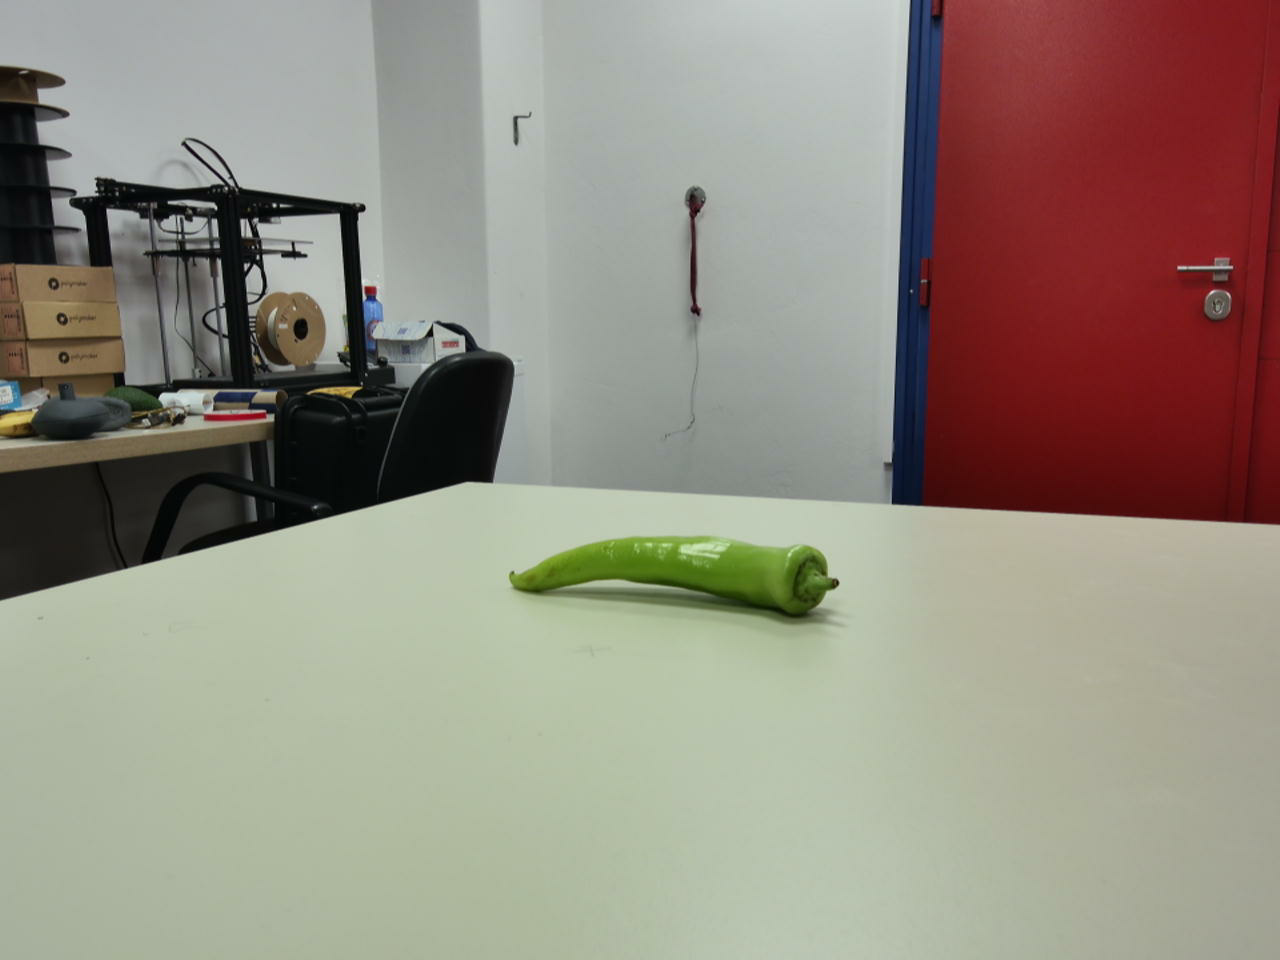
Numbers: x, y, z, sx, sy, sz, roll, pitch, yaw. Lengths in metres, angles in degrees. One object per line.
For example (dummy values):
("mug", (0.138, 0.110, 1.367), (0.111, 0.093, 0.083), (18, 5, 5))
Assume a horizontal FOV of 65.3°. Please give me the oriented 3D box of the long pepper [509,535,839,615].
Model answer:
("long pepper", (0.017, 0.048, 0.550), (0.197, 0.038, 0.046), (3, 6, 26))
